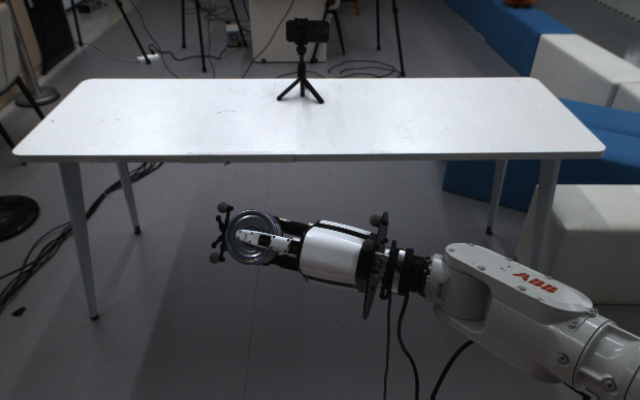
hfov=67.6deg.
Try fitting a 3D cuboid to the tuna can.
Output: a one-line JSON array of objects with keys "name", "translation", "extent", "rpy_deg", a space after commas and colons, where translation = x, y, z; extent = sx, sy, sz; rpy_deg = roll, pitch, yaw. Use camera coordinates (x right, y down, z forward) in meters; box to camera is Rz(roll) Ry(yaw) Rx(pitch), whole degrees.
[{"name": "tuna can", "translation": [-0.100, 0.058, 0.746], "extent": [0.085, 0.085, 0.034], "rpy_deg": [10, -6, 11]}]
